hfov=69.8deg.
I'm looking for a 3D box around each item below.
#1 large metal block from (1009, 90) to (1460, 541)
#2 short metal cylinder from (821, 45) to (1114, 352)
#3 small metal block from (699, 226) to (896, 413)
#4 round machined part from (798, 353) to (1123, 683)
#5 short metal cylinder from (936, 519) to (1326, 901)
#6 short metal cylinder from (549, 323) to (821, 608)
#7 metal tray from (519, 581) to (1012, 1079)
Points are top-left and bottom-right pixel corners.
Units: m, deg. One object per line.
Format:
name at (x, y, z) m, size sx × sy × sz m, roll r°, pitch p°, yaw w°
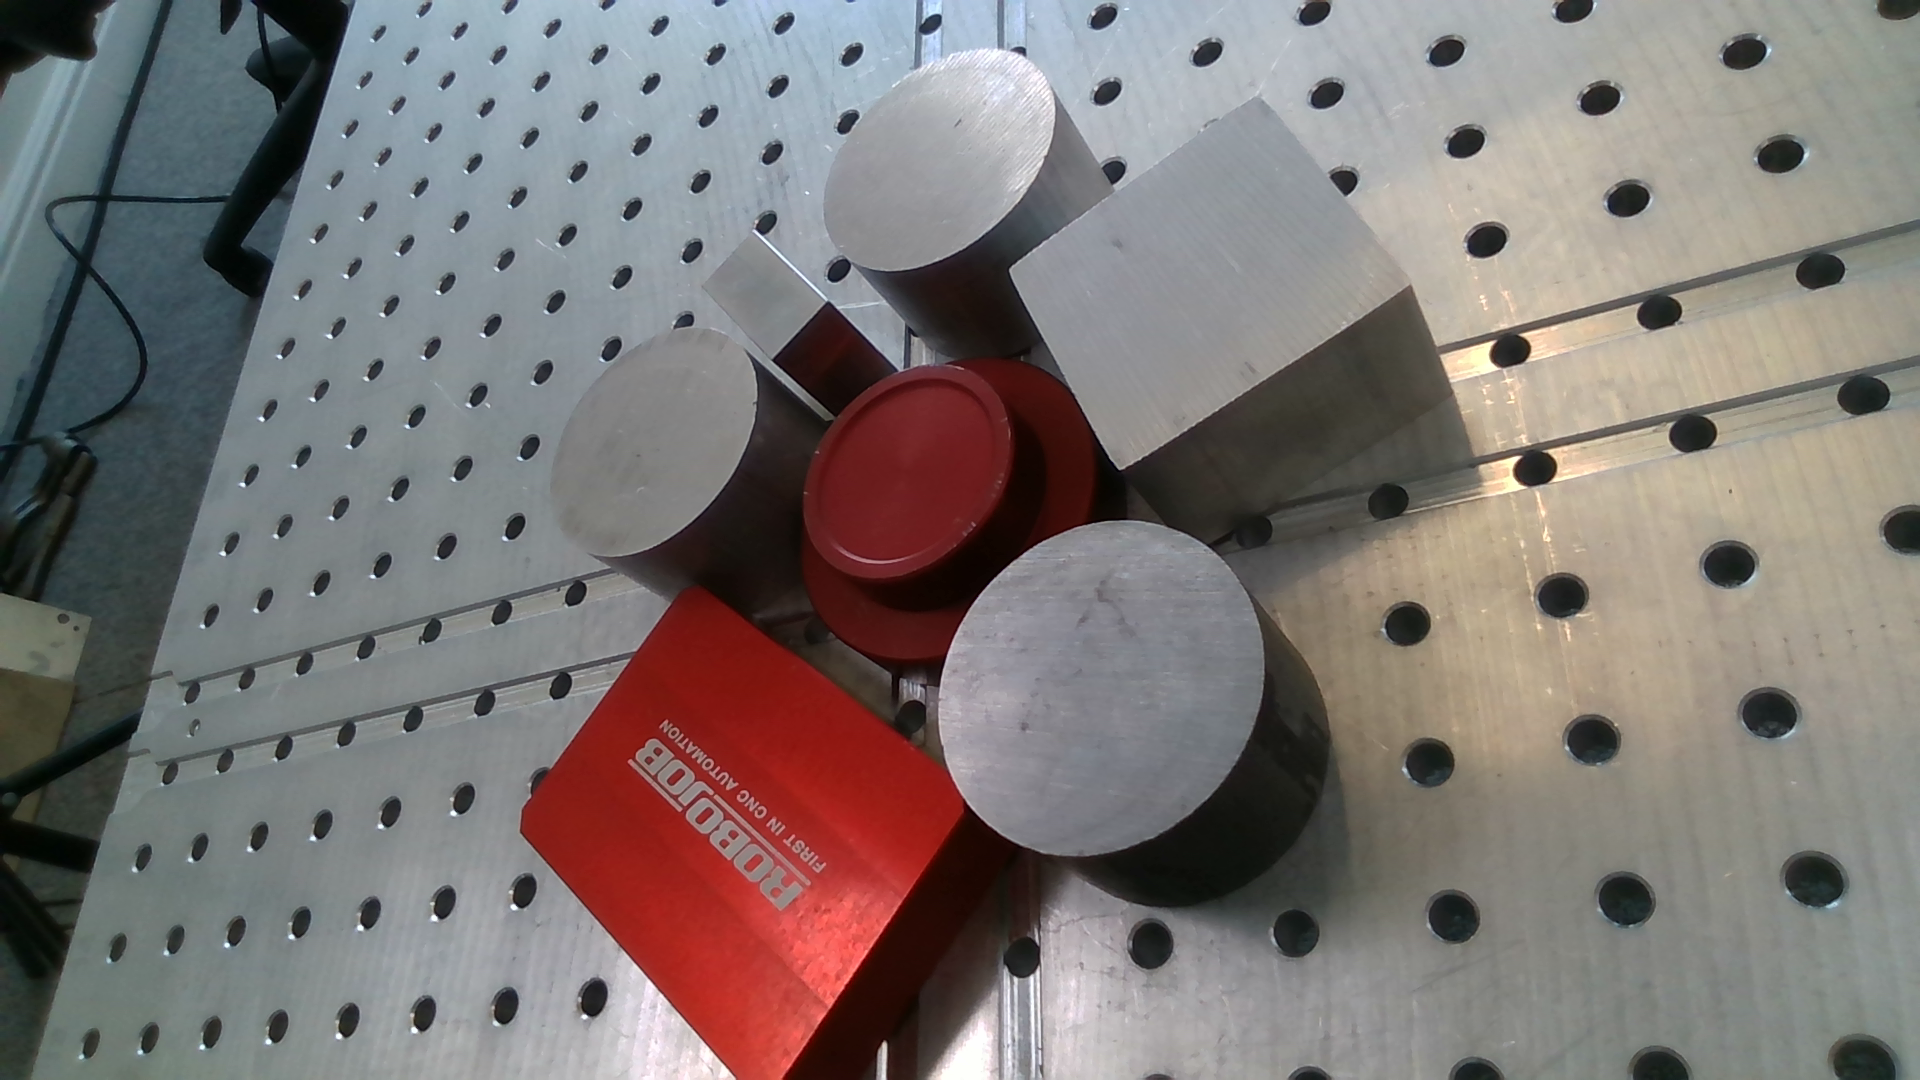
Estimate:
large metal block at (0.071, -0.057, 0.367) m, size 0.080 × 0.050 × 0.080 m, roll -33°, pitch 53°, yaw 13°
short metal cylinder at (0.004, -0.106, 0.432) m, size 0.080 × 0.050 × 0.080 m, roll -14°, pitch 59°, yaw 25°
small metal block at (-0.050, -0.067, 0.445) m, size 0.025 × 0.050 × 0.050 m, roll -46°, pitch 51°, yaw 3°
round machined part at (-0.006, -0.012, 0.394) m, size 0.098 × 0.042 × 0.098 m, roll -14°, pitch 59°, yaw 25°
short metal cylinder at (0.041, 0.042, 0.331) m, size 0.080 × 0.050 × 0.080 m, roll -14°, pitch 59°, yaw 25°
short metal cylinder at (-0.084, -0.022, 0.442) m, size 0.080 × 0.050 × 0.080 m, roll -14°, pitch 59°, yaw 25°
metal tray at (-0.058, 0.079, 0.385) m, size 0.130 × 0.030 × 0.090 m, roll 31°, pitch 83°, yaw 38°
